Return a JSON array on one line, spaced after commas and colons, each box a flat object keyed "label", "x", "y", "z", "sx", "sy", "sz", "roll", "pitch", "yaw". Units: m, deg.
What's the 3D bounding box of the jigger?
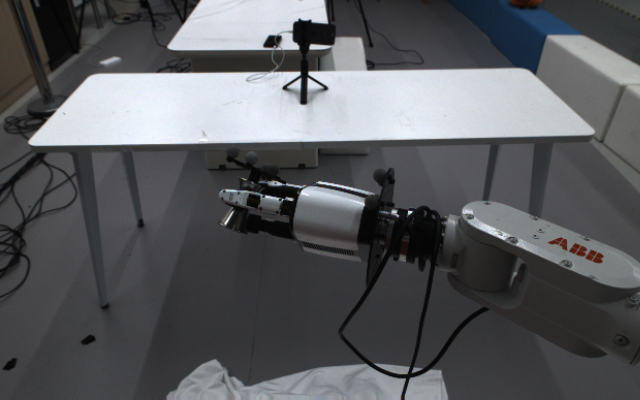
[{"label": "jigger", "x": -0.106, "y": 0.006, "z": 0.651, "sx": 0.043, "sy": 0.071, "sz": 0.043, "roll": 24, "pitch": -2, "yaw": 1}]
